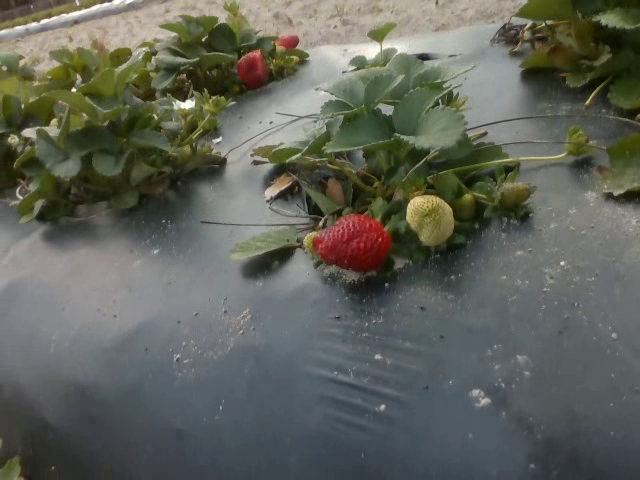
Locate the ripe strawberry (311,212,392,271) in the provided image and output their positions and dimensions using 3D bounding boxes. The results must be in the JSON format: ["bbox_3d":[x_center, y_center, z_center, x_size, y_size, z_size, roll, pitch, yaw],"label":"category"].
[{"bbox_3d":[0.017,0.005,0.380,0.046,0.046,0.059,-1,5,44],"label":"ripe strawberry"}]
